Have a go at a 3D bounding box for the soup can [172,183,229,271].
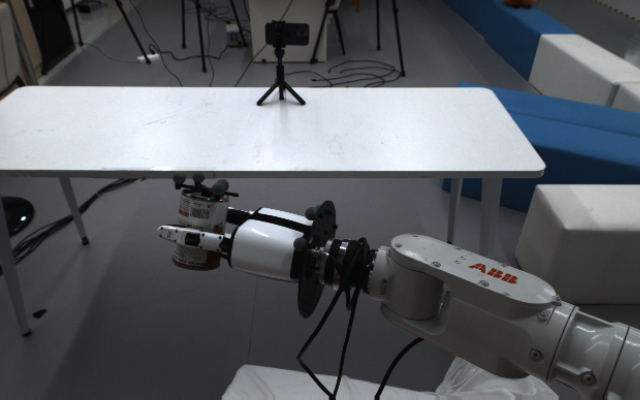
[{"bbox_3d":[-0.166,0.042,0.678,0.067,0.101,0.067,10,9,-2],"label":"soup can"}]
